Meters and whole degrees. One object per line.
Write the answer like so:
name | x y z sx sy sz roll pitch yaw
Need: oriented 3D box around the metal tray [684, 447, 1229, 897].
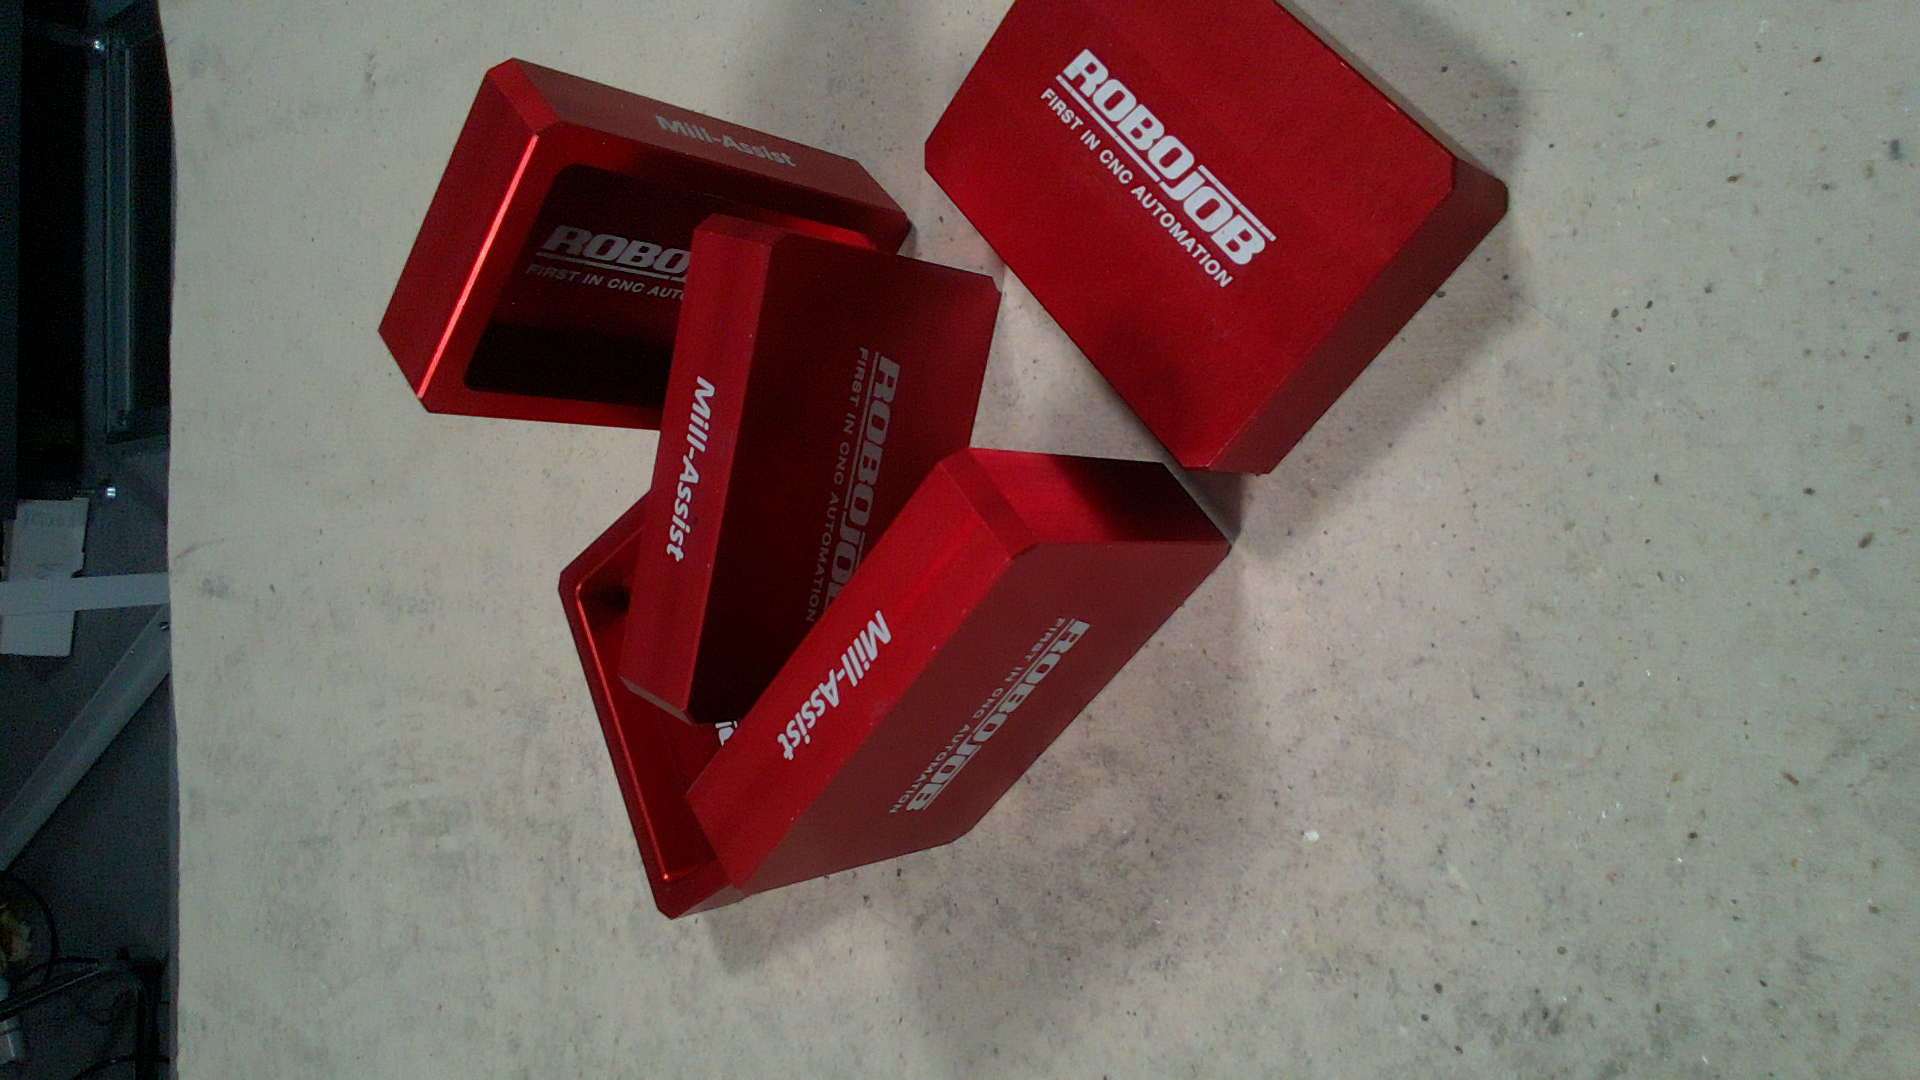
metal tray | -0.001 0.035 0.353 0.130 0.090 0.030 -51 60 28

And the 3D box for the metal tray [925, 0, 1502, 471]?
metal tray | 0.056 -0.092 0.345 0.090 0.030 0.130 -52 60 27

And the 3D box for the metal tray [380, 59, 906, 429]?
metal tray | -0.087 -0.076 0.399 0.030 0.131 0.090 51 120 28

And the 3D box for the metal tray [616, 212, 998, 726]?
metal tray | -0.041 -0.018 0.386 0.030 0.090 0.130 21 103 38

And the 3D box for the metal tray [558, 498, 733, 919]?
metal tray | -0.083 0.049 0.462 0.090 0.030 0.130 -36 68 34
